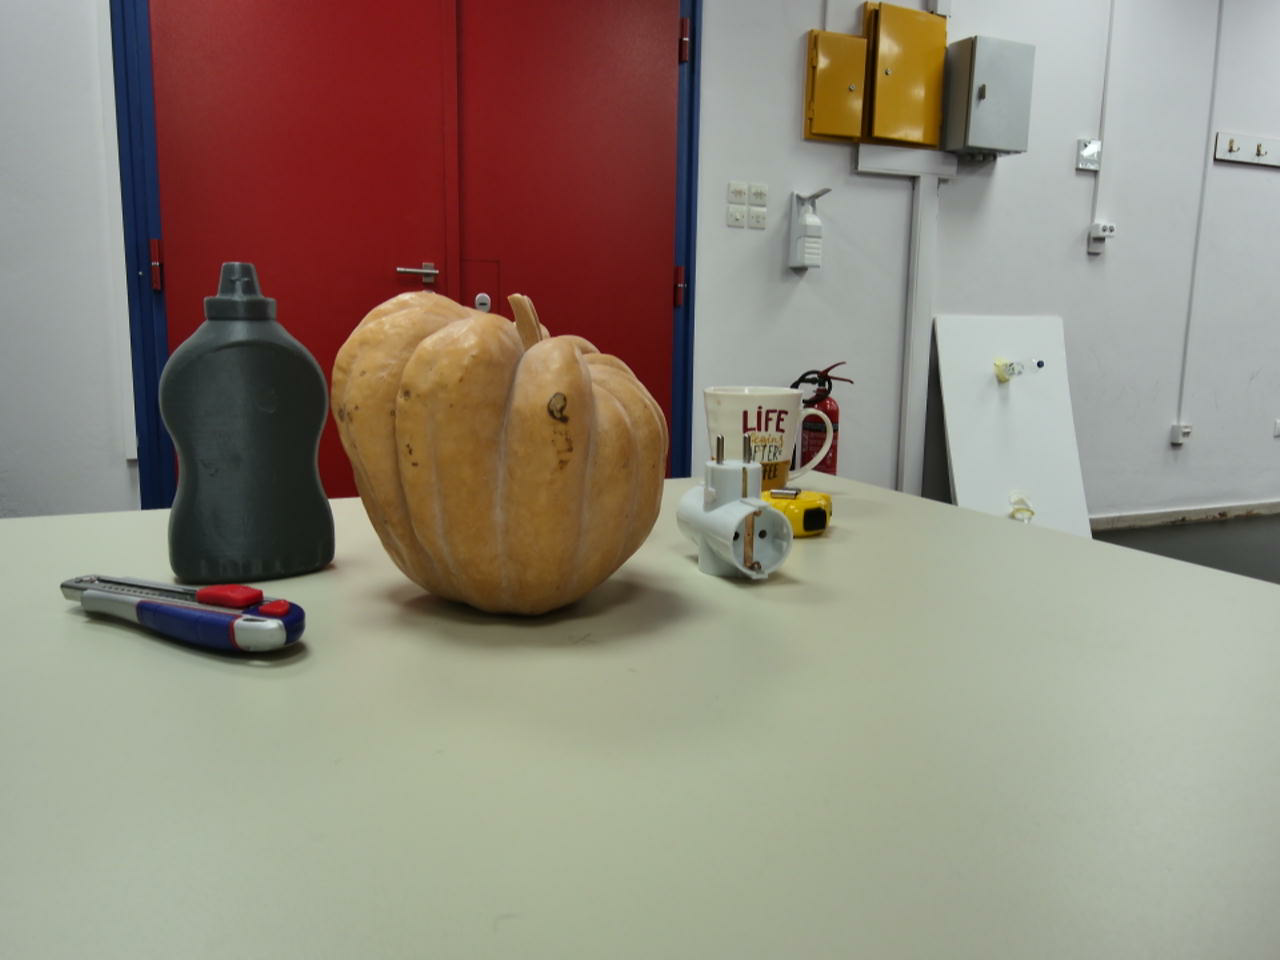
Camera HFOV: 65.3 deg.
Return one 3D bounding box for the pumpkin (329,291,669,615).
[{"bbox_3d":[-0.079,-0.017,0.568,0.199,0.177,0.198,0,8,0],"label":"pumpkin"}]
